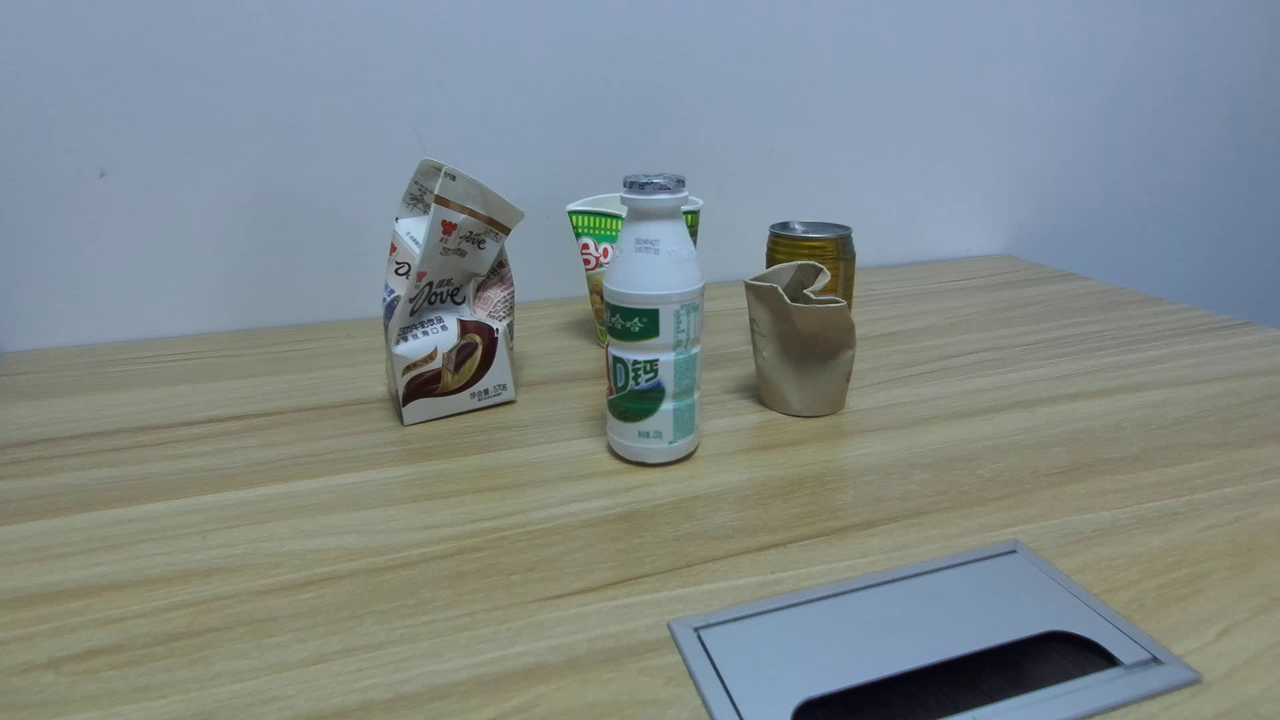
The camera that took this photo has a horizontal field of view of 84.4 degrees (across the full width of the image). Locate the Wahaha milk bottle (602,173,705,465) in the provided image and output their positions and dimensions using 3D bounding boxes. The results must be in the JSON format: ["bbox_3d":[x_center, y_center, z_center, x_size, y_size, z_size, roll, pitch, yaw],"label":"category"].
[{"bbox_3d":[0.007,-0.020,0.368,0.053,0.147,0.053,-1,20,1],"label":"Wahaha milk bottle"}]

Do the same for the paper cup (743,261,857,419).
[{"bbox_3d":[0.103,-0.011,0.429,0.058,0.083,0.067,20,32,39],"label":"paper cup"}]

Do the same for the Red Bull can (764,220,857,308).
[{"bbox_3d":[0.124,-0.053,0.527,0.068,0.093,0.068,-1,23,1],"label":"Red Bull can"}]

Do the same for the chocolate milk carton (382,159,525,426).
[{"bbox_3d":[-0.116,-0.043,0.444,0.090,0.155,0.076,2,21,-32],"label":"chocolate milk carton"}]

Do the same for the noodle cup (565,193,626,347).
[{"bbox_3d":[0.007,-0.062,0.517,0.093,0.109,0.087,18,28,42],"label":"noodle cup"}]
